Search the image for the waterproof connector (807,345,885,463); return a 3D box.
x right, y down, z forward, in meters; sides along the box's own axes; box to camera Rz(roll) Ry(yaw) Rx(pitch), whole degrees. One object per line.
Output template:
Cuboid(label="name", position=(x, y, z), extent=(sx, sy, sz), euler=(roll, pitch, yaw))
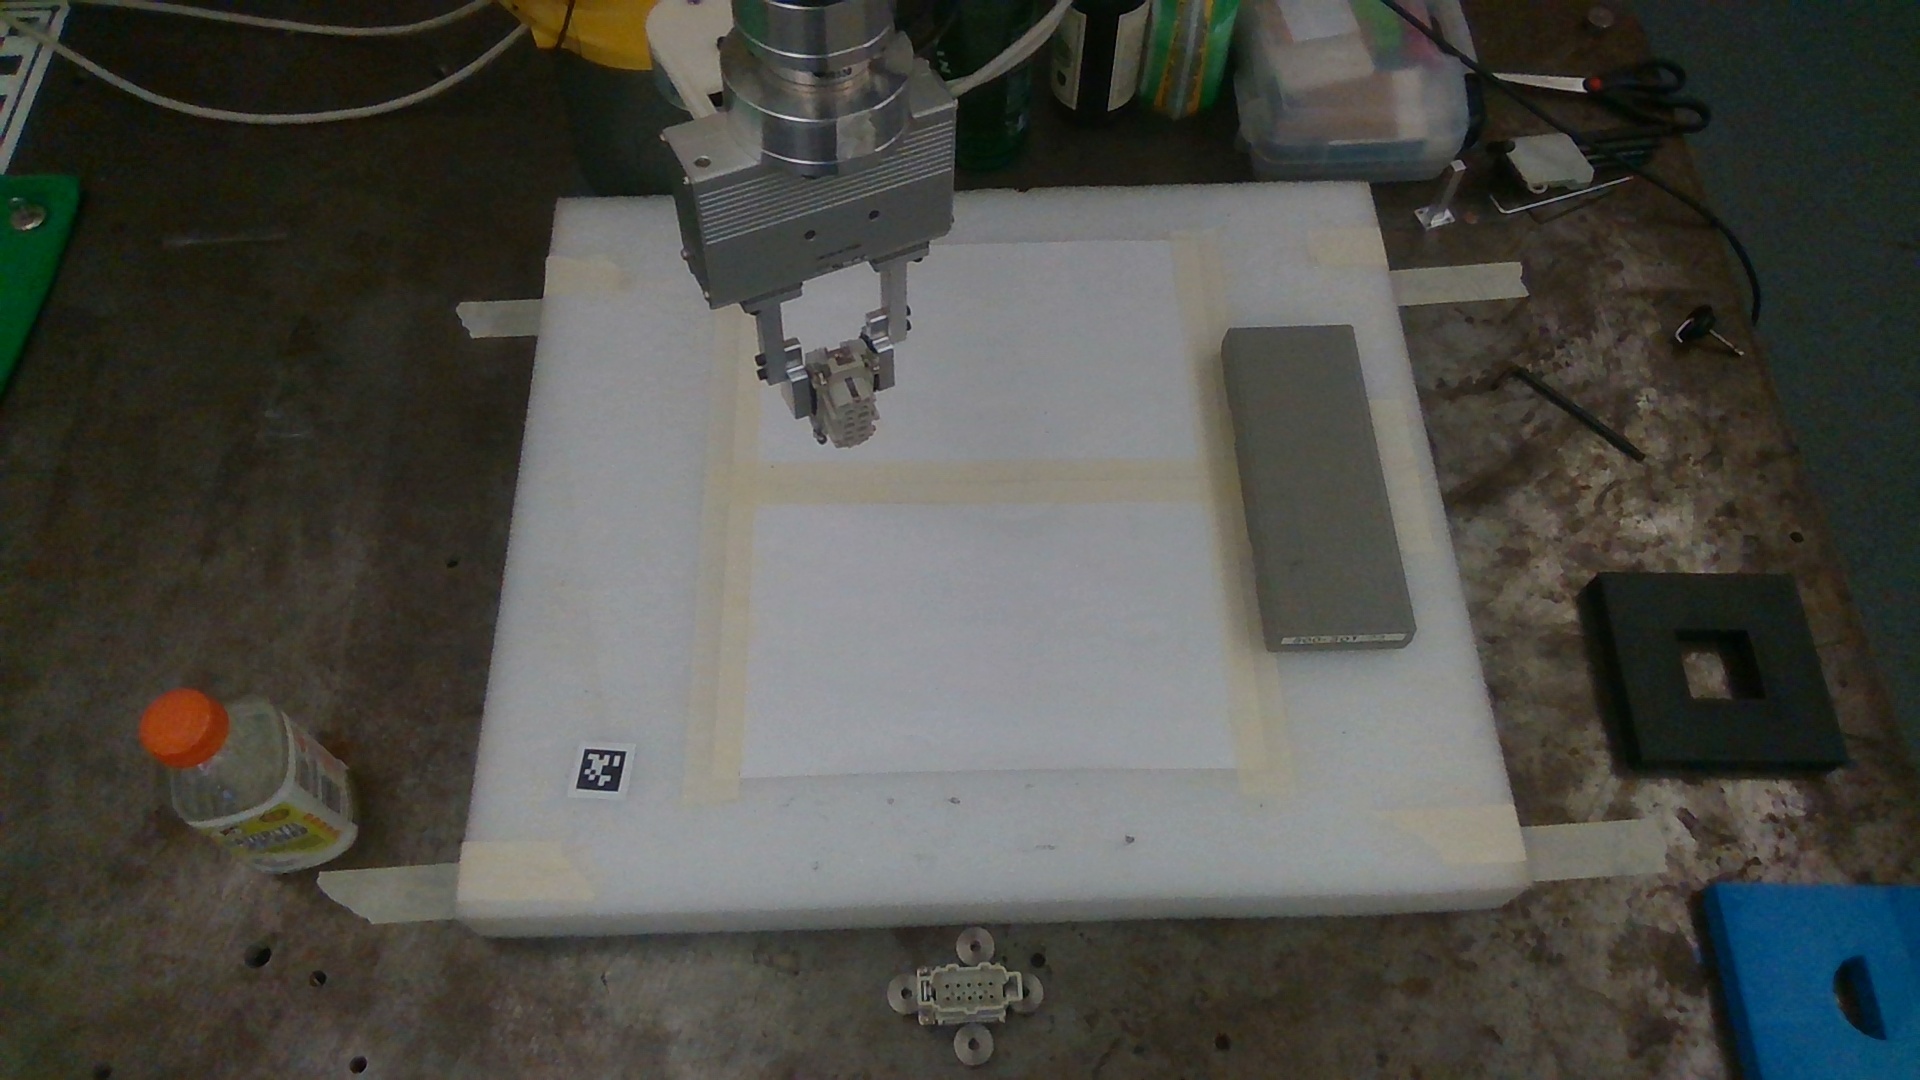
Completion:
Cuboid(label="waterproof connector", position=(-0.058, -0.070, 0.725), extent=(0.036, 0.069, 0.039), euler=(-16, 58, -13))
